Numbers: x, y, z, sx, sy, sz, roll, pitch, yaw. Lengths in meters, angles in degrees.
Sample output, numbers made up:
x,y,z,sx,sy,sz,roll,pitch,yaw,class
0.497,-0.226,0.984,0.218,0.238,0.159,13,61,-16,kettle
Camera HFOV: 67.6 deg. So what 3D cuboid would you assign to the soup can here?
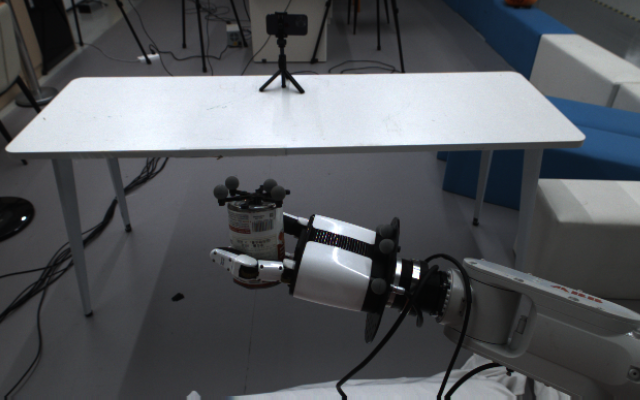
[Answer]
x,y,z,sx,sy,sz,roll,pitch,yaw,class
-0.076,0.050,0.593,0.067,0.101,0.067,-1,16,0,soup can
